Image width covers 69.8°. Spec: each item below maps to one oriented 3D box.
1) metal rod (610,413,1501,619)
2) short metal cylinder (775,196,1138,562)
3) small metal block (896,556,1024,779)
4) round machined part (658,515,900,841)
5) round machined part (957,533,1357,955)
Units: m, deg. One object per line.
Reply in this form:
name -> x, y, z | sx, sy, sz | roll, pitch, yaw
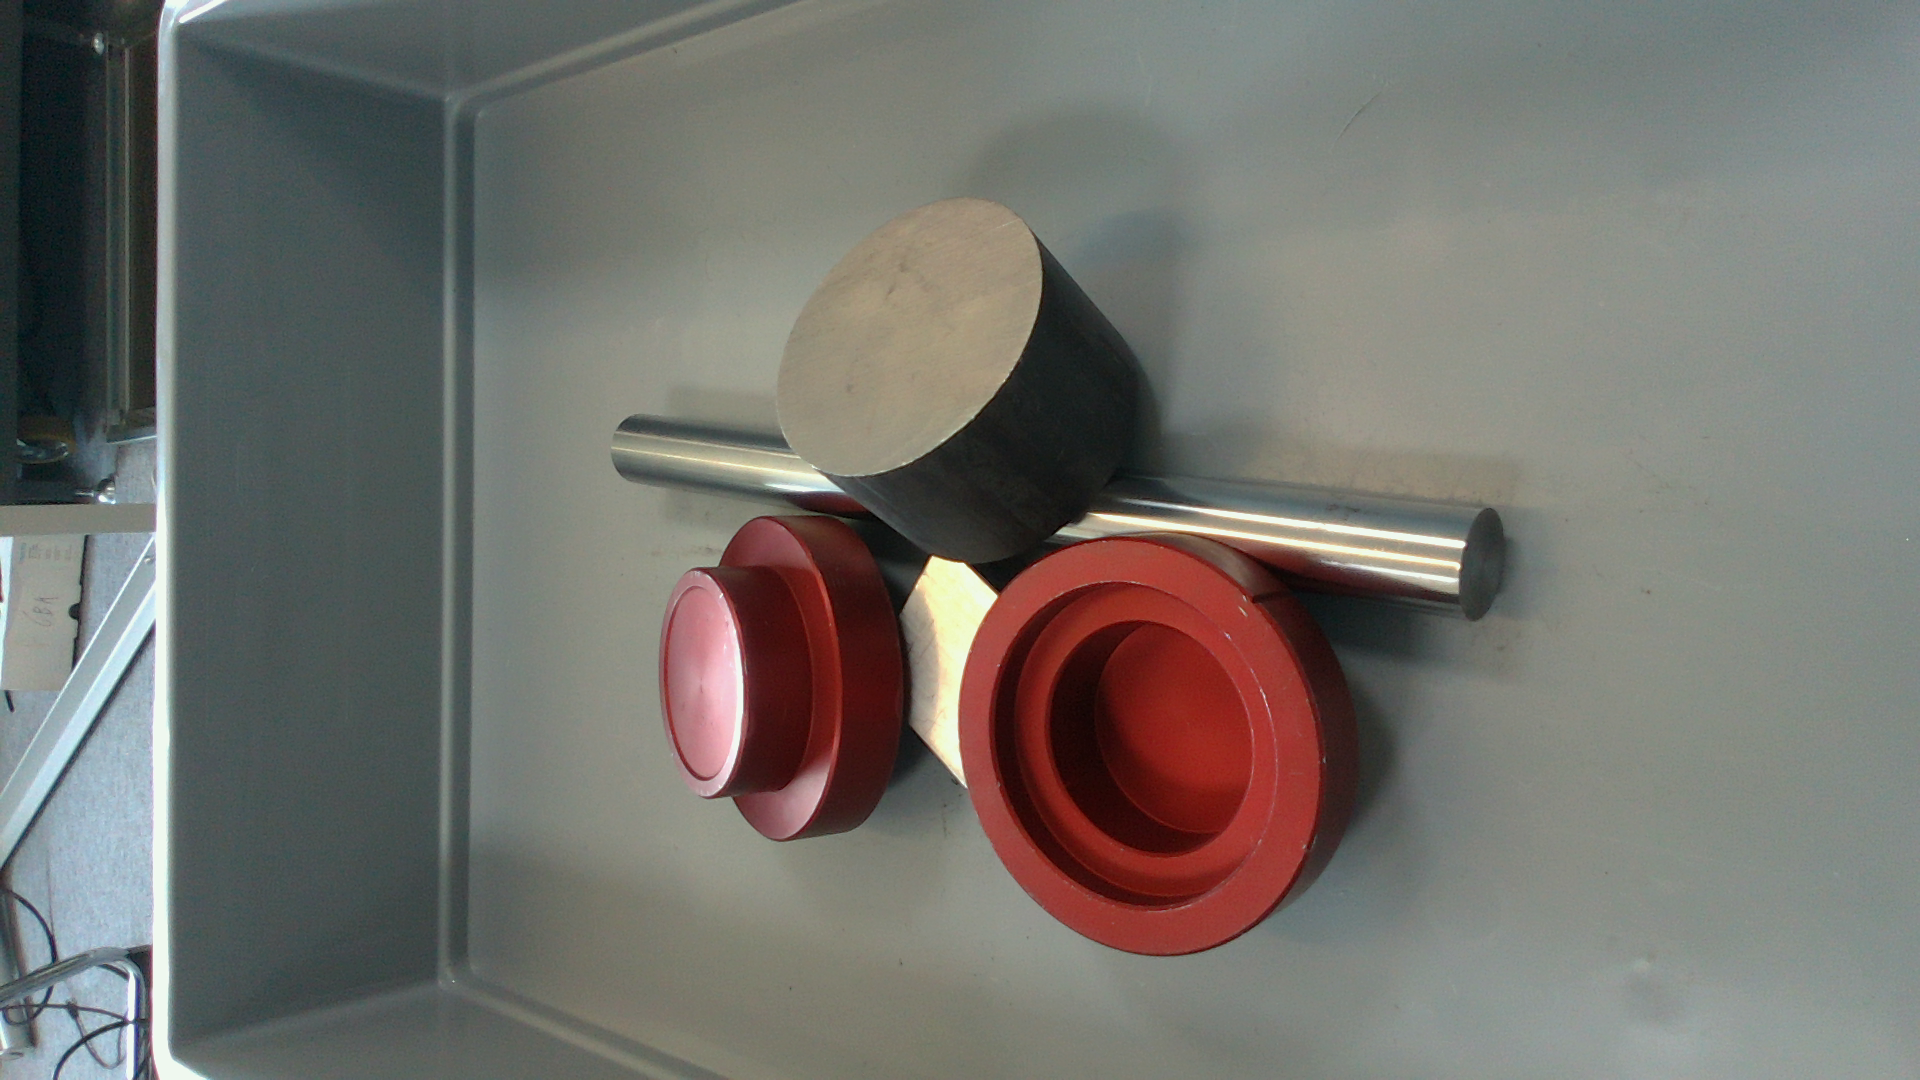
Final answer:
metal rod -> -0.001, -0.014, 0.394 | 0.299, 0.025, 0.025 | 9, 96, 40
short metal cylinder -> -0.001, -0.041, 0.358 | 0.080, 0.050, 0.080 | -18, 55, 28
small metal block -> 0.007, 0.034, 0.387 | 0.050, 0.025, 0.050 | 44, 116, 31
round machined part -> -0.060, 0.041, 0.415 | 0.098, 0.042, 0.098 | 3, 93, 58
round machined part -> 0.050, 0.047, 0.337 | 0.098, 0.042, 0.098 | 2, 94, 37
